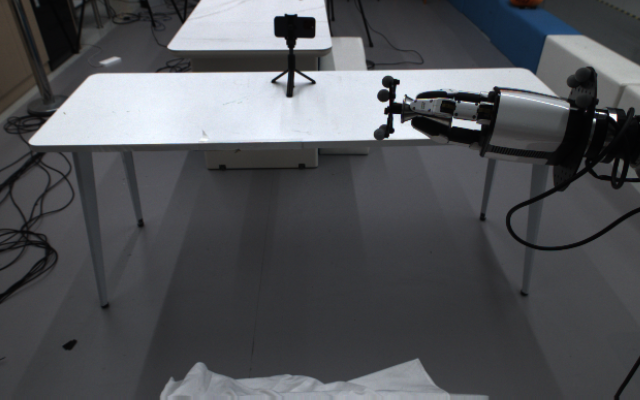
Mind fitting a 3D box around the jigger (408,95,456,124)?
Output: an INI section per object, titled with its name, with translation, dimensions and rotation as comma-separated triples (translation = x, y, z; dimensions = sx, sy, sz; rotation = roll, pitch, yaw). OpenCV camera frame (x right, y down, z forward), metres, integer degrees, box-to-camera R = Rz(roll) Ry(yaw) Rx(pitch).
[jigger]
translation = 0.155, -0.127, 0.669
dimensions = 0.071, 0.043, 0.043
rotation = 8, 35, 15
